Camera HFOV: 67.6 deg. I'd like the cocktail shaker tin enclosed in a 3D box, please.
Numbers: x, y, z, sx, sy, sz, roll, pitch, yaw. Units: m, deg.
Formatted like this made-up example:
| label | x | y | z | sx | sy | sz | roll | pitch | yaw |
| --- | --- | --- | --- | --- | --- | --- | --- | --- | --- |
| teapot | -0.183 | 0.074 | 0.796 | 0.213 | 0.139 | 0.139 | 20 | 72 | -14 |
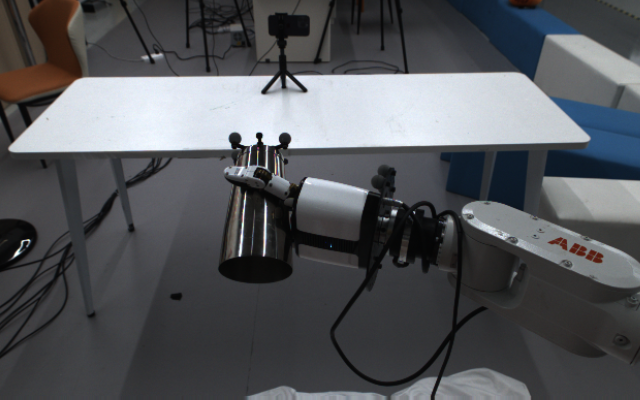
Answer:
| label | x | y | z | sx | sy | sz | roll | pitch | yaw |
| --- | --- | --- | --- | --- | --- | --- | --- | --- | --- |
| cocktail shaker tin | -0.082 | 0.014 | 0.635 | 0.093 | 0.093 | 0.170 | 0 | 59 | -3 |
